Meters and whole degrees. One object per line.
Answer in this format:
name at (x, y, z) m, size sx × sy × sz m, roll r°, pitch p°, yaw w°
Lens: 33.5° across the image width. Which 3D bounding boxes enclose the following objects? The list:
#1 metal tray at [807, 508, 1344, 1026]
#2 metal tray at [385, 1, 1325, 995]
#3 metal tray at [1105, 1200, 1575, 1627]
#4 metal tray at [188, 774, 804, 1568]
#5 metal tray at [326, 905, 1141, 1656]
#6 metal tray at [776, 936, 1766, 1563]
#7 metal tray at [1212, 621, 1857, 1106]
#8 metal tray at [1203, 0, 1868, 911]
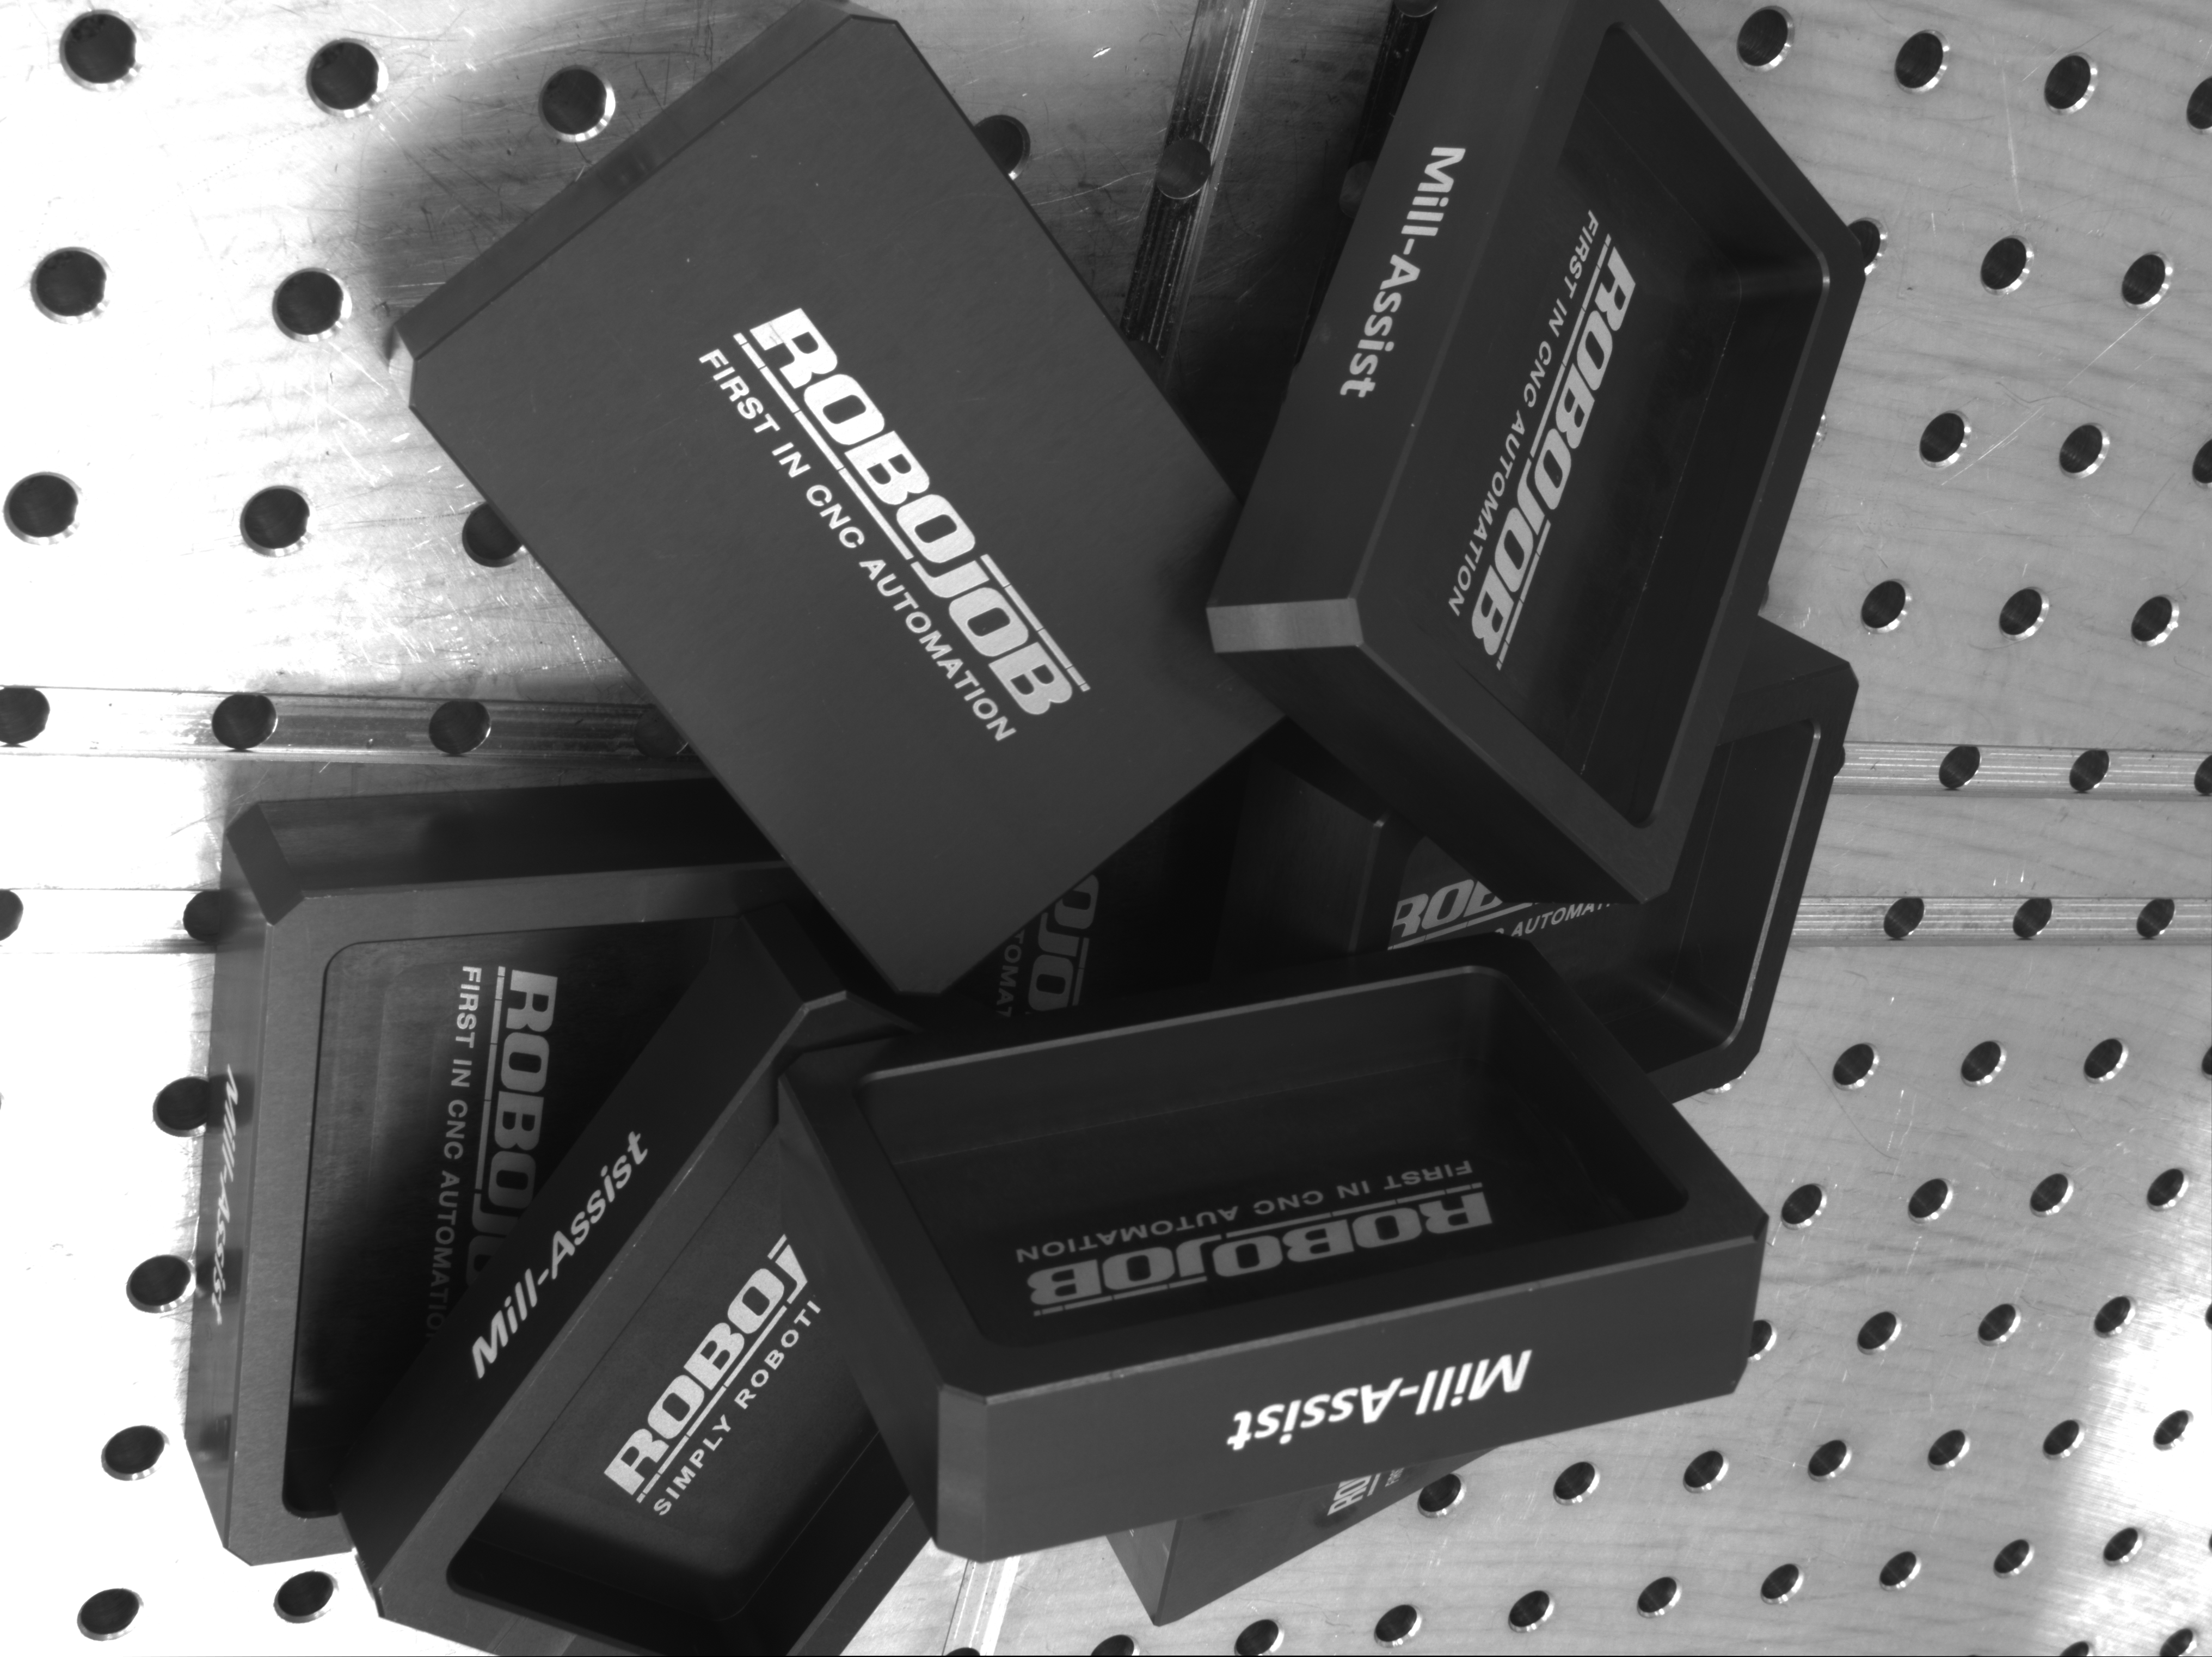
metal tray at (-0.007, 0.011, 0.640) m, size 0.090 × 0.030 × 0.130 m, roll -6°, pitch 118°, yaw -27°
metal tray at (-0.036, -0.050, 0.566) m, size 0.090 × 0.030 × 0.130 m, roll -39°, pitch 113°, yaw -2°
metal tray at (0.044, 0.103, 0.681) m, size 0.090 × 0.030 × 0.130 m, roll -26°, pitch 160°, yaw -12°
metal tray at (-0.104, 0.057, 0.617) m, size 0.090 × 0.030 × 0.130 m, roll -5°, pitch 119°, yaw -27°
metal tray at (-0.058, 0.086, 0.620) m, size 0.090 × 0.030 × 0.130 m, roll 30°, pitch 102°, yaw -37°
metal tray at (0.023, 0.061, 0.566) m, size 0.130 × 0.090 × 0.030 m, roll -9°, pitch 122°, yaw -18°
metal tray at (0.076, 0.015, 0.664) m, size 0.130 × 0.030 × 0.090 m, roll -16°, pitch 126°, yaw -40°
metal tray at (0.073, -0.063, 0.595) m, size 0.090 × 0.030 × 0.130 m, roll 38°, pitch 64°, yaw -38°
